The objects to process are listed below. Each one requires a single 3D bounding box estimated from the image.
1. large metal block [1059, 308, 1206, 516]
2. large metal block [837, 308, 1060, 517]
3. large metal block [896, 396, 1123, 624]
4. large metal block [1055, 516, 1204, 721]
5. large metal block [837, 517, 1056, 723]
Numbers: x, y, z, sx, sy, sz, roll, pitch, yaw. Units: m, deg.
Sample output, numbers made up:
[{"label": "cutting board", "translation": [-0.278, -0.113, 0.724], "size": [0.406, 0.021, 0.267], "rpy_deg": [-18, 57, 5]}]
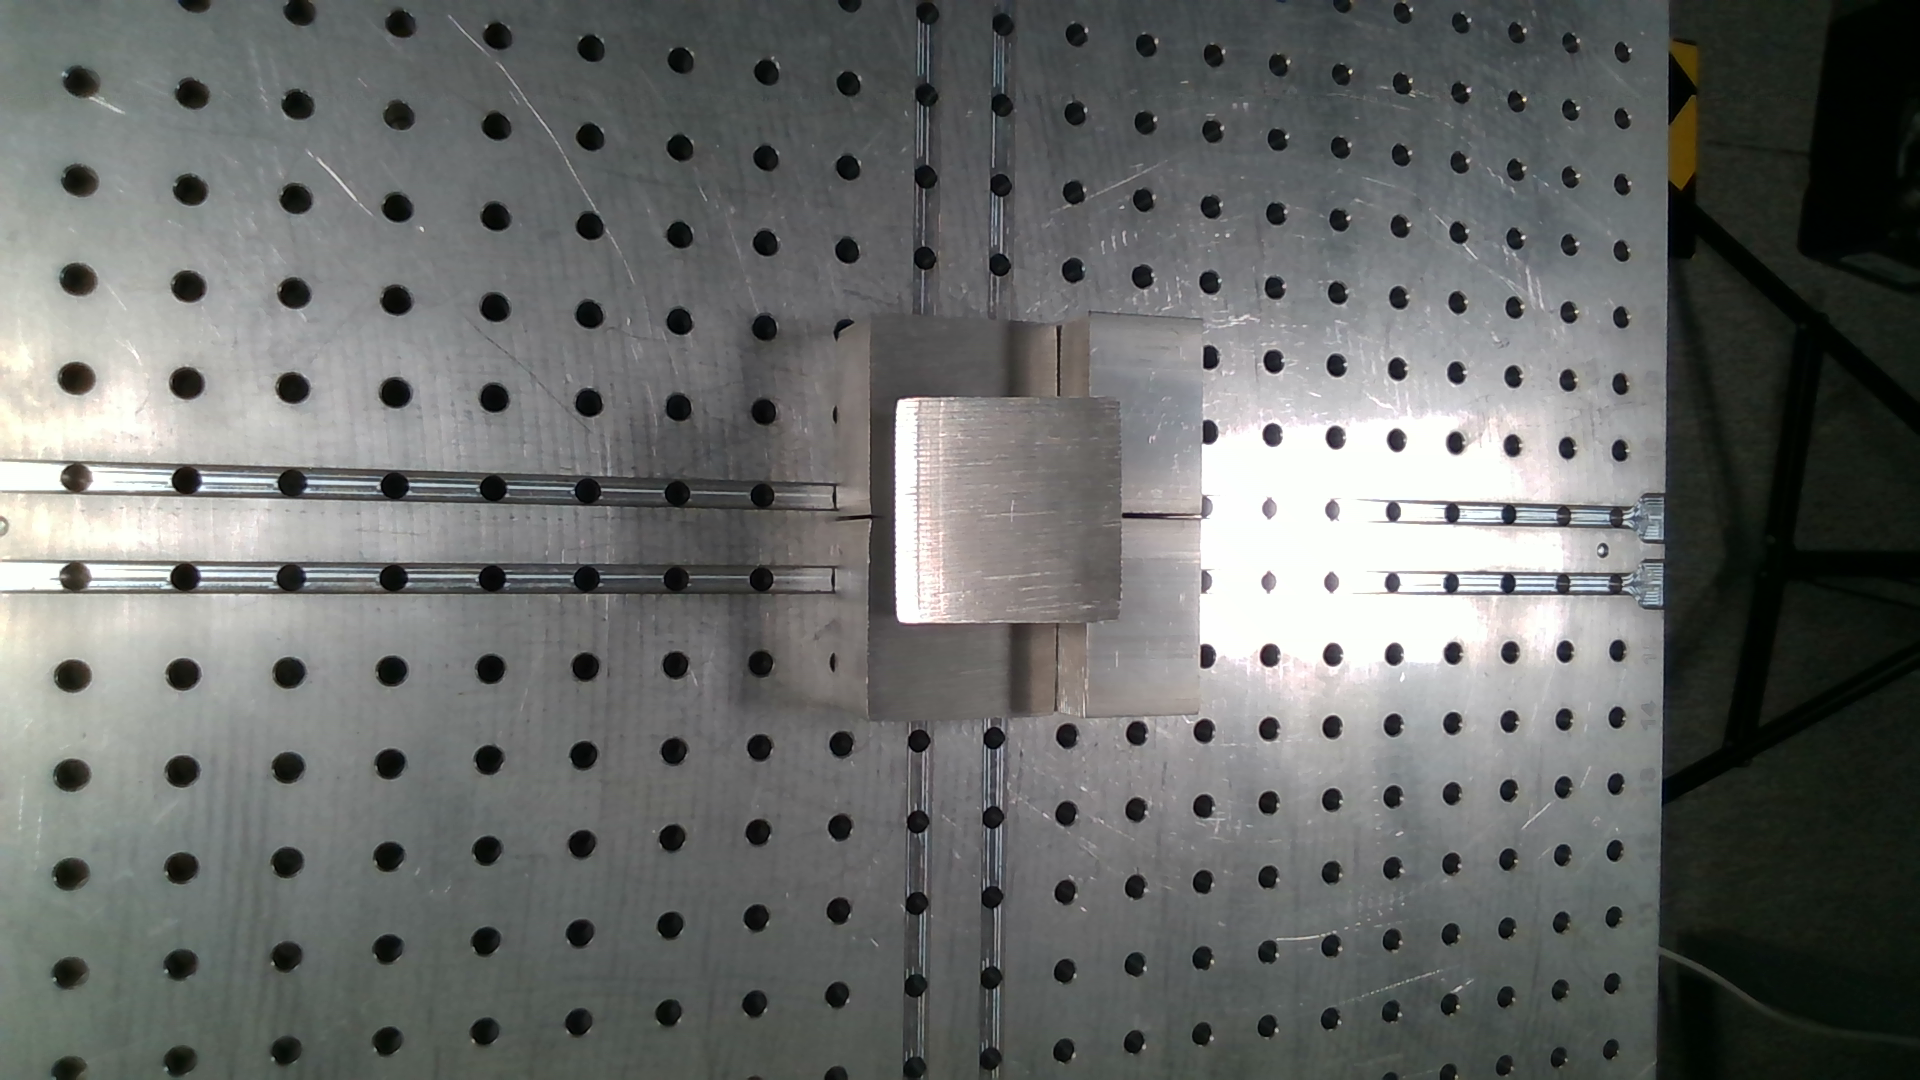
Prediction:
[{"label": "large metal block", "translation": [0.061, -0.050, 0.580], "size": [0.050, 0.080, 0.080], "rpy_deg": [1, 90, -20]}, {"label": "large metal block", "translation": [-0.006, -0.049, 0.571], "size": [0.080, 0.050, 0.080], "rpy_deg": [1, 90, -20]}, {"label": "large metal block", "translation": [0.019, -0.010, 0.511], "size": [0.080, 0.050, 0.080], "rpy_deg": [0, 90, 3]}, {"label": "large metal block", "translation": [0.060, 0.031, 0.580], "size": [0.050, 0.080, 0.080], "rpy_deg": [1, 90, -20]}, {"label": "large metal block", "translation": [-0.007, 0.032, 0.570], "size": [0.080, 0.050, 0.080], "rpy_deg": [1, 90, -20]}]
